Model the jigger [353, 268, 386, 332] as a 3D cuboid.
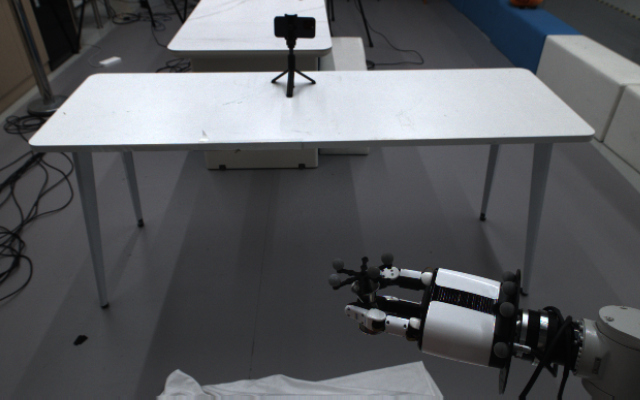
[{"bbox_3d":[0.070,0.147,0.679,0.043,0.071,0.043,-11,24,5],"label":"jigger"}]
